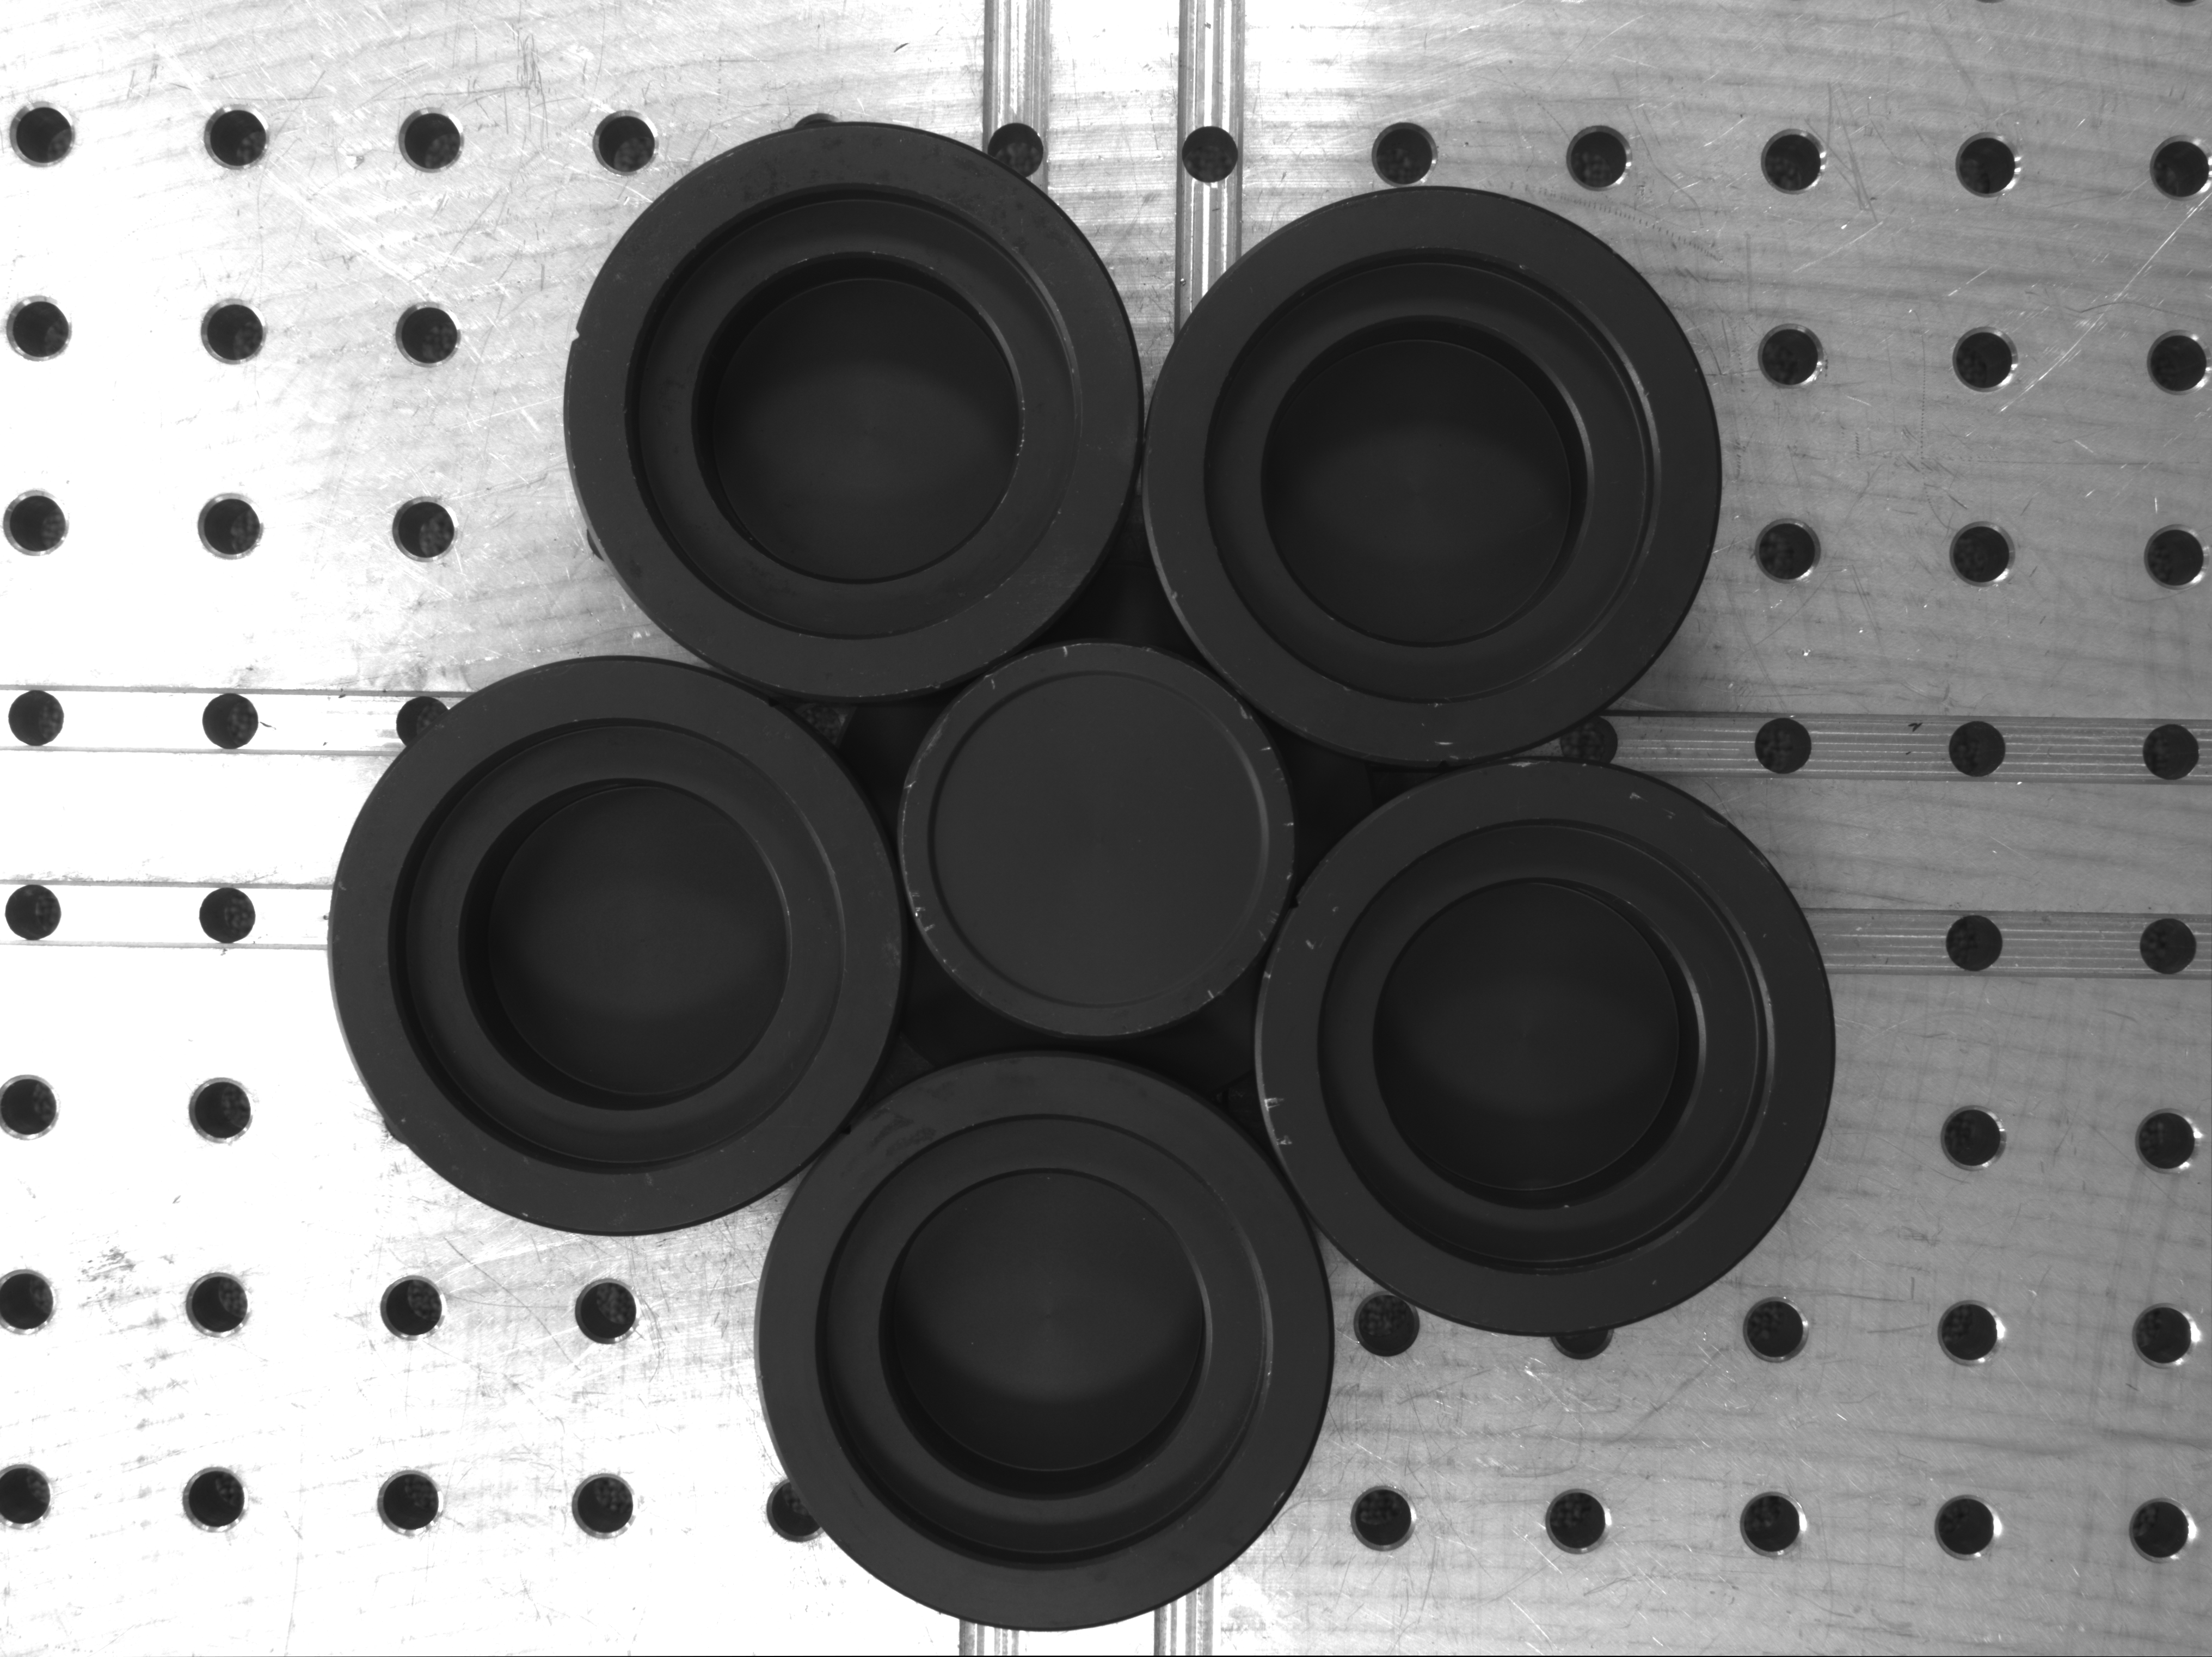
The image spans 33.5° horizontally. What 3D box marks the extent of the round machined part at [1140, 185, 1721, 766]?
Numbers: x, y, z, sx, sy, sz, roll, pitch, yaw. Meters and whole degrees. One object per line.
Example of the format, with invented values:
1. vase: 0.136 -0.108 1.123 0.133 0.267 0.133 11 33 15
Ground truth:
1. round machined part: 0.055 -0.060 0.640 0.098 0.042 0.098 0 90 0

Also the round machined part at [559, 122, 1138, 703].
1. round machined part: -0.043 -0.070 0.640 0.098 0.042 0.098 0 90 0

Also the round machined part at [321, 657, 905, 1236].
1. round machined part: -0.083 0.020 0.639 0.098 0.042 0.098 0 90 0

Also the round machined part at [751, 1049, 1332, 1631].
1. round machined part: -0.011 0.087 0.639 0.098 0.042 0.098 0 90 0

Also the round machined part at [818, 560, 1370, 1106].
1. round machined part: -0.002 0.002 0.639 0.098 0.042 0.098 0 90 0

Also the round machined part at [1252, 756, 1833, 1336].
1. round machined part: 0.074 0.037 0.640 0.098 0.042 0.098 0 90 0
